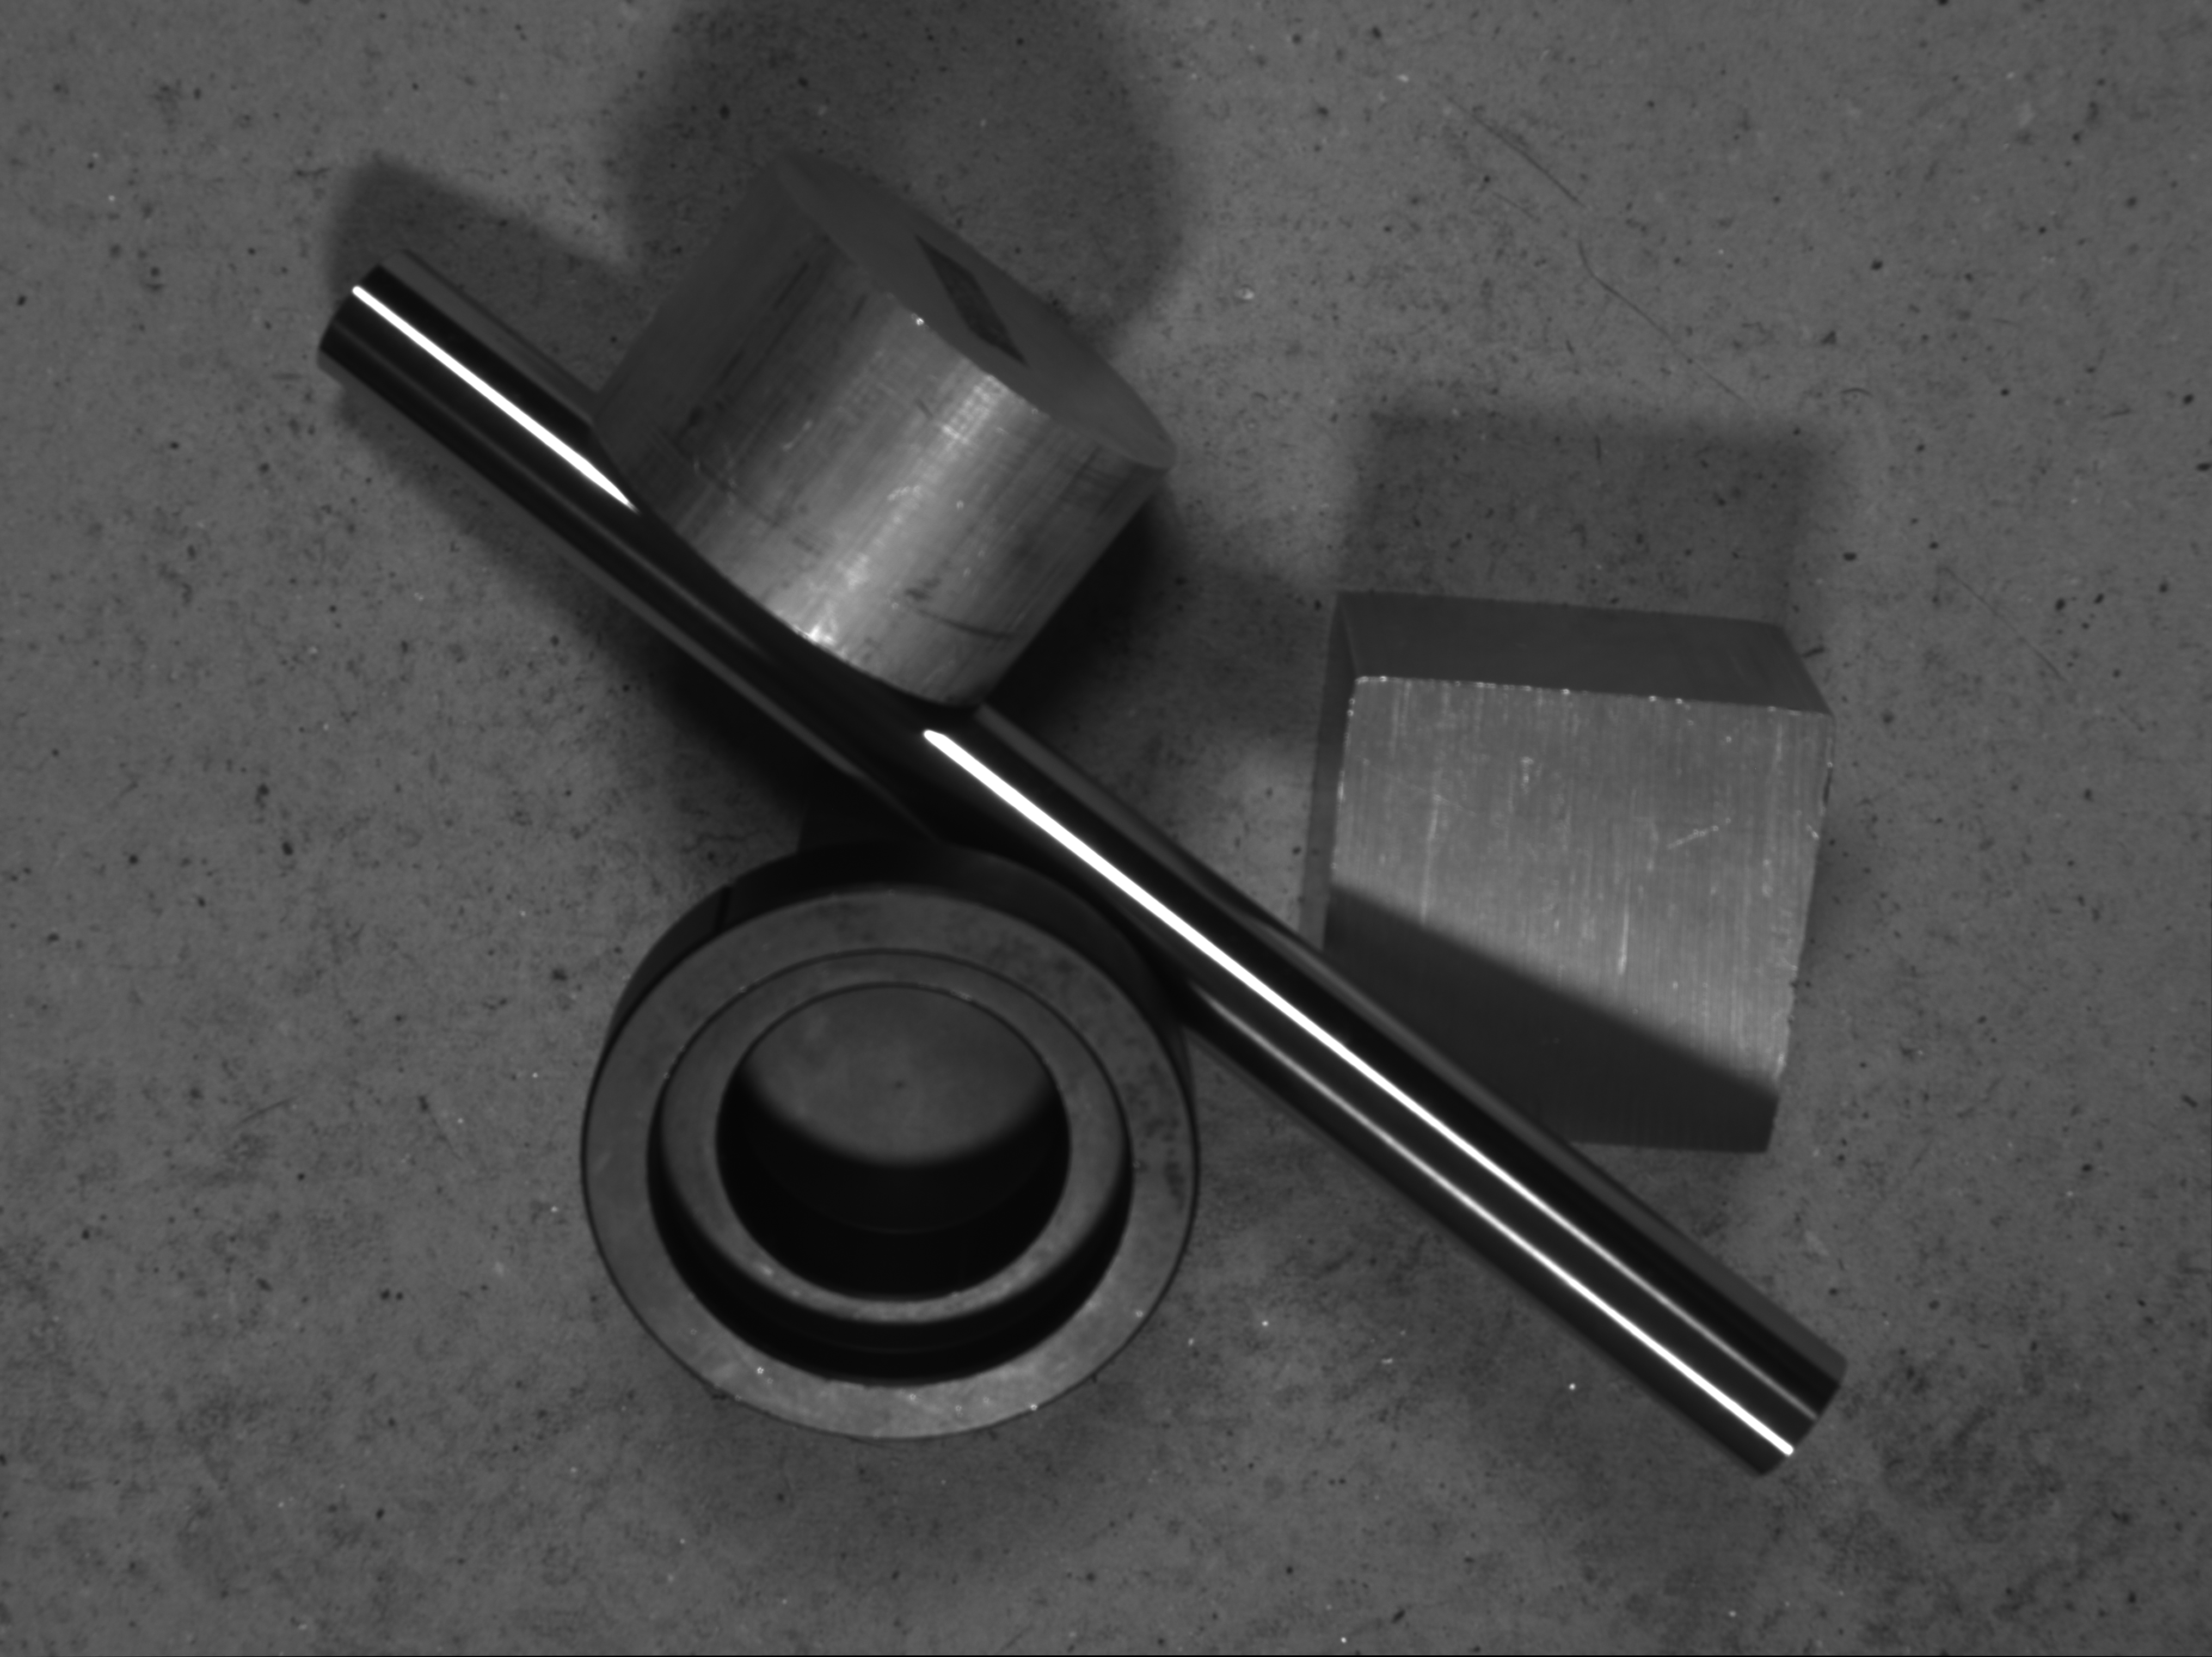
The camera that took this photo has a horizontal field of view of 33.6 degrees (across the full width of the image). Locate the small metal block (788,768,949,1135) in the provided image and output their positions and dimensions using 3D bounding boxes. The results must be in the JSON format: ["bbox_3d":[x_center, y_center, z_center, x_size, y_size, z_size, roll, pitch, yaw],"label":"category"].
[{"bbox_3d":[-0.040,0.020,0.637,0.025,0.050,0.050,-2,110,0],"label":"small metal block"}]

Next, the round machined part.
[{"bbox_3d":[-0.036,0.047,0.598,0.098,0.042,0.098,0,111,-1],"label":"round machined part"}]

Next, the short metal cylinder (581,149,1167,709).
[{"bbox_3d":[-0.037,-0.064,0.590,0.080,0.080,0.050,36,106,-12],"label":"short metal cylinder"}]

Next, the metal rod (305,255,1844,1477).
[{"bbox_3d":[-0.006,0.005,0.605,0.300,0.025,0.025,37,106,2],"label":"metal rod"}]

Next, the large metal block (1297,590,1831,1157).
[{"bbox_3d":[0.075,0.007,0.634,0.080,0.050,0.080,4,110,-2],"label":"large metal block"}]
